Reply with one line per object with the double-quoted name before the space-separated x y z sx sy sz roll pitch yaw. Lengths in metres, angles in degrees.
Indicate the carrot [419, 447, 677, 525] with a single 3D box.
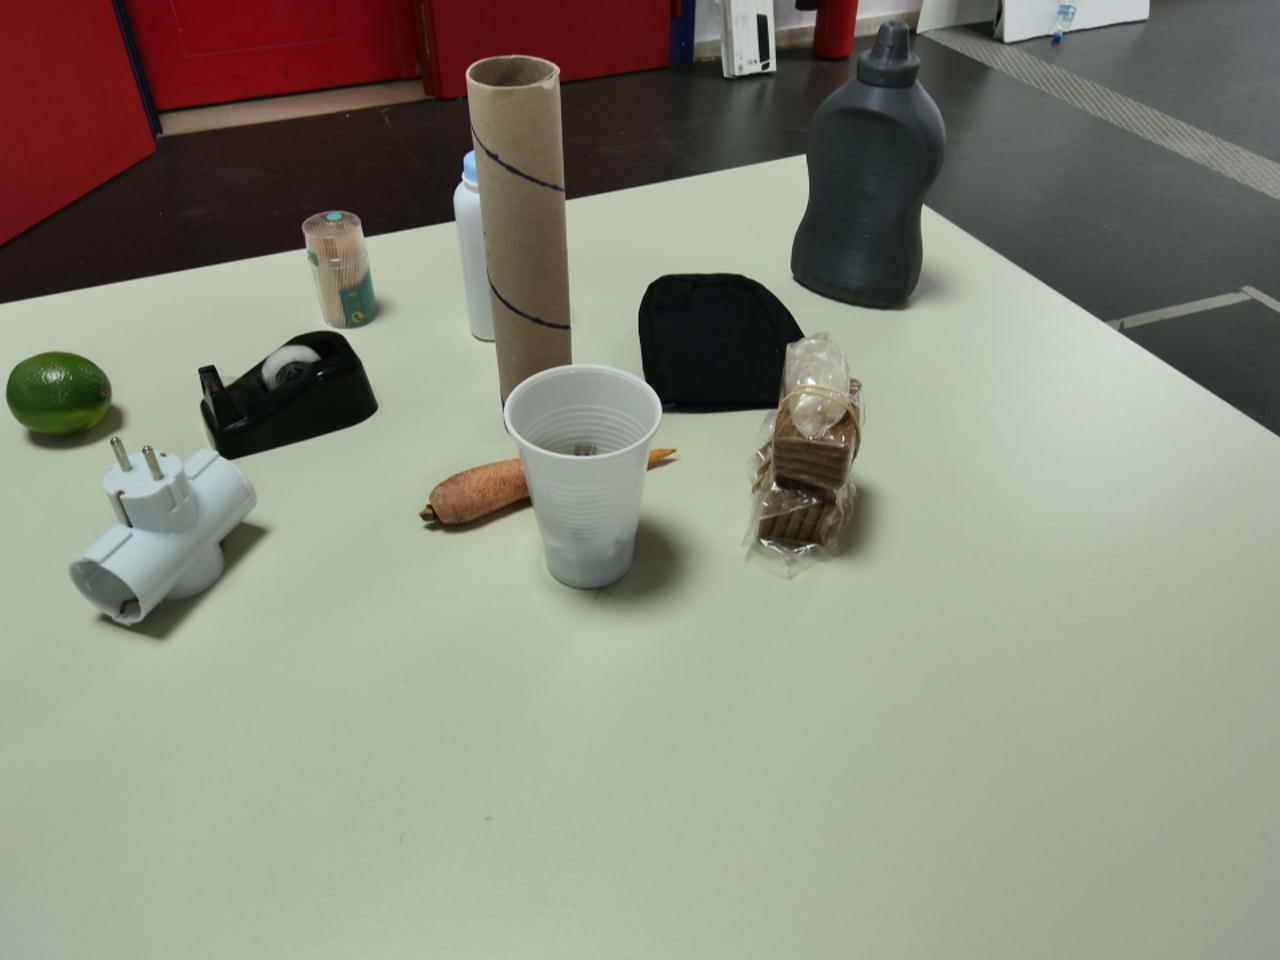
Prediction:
"carrot" -0.053 -0.005 0.604 0.163 0.029 0.031 -16 42 -19
